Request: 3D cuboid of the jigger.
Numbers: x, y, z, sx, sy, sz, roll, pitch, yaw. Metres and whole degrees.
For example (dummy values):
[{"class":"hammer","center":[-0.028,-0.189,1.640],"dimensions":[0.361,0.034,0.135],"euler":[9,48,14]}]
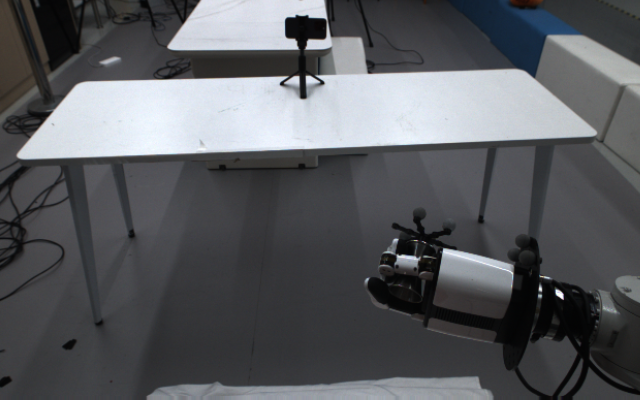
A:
[{"class":"jigger","center":[0.119,0.086,0.609],"dimensions":[0.043,0.043,0.071],"euler":[15,59,18]}]
